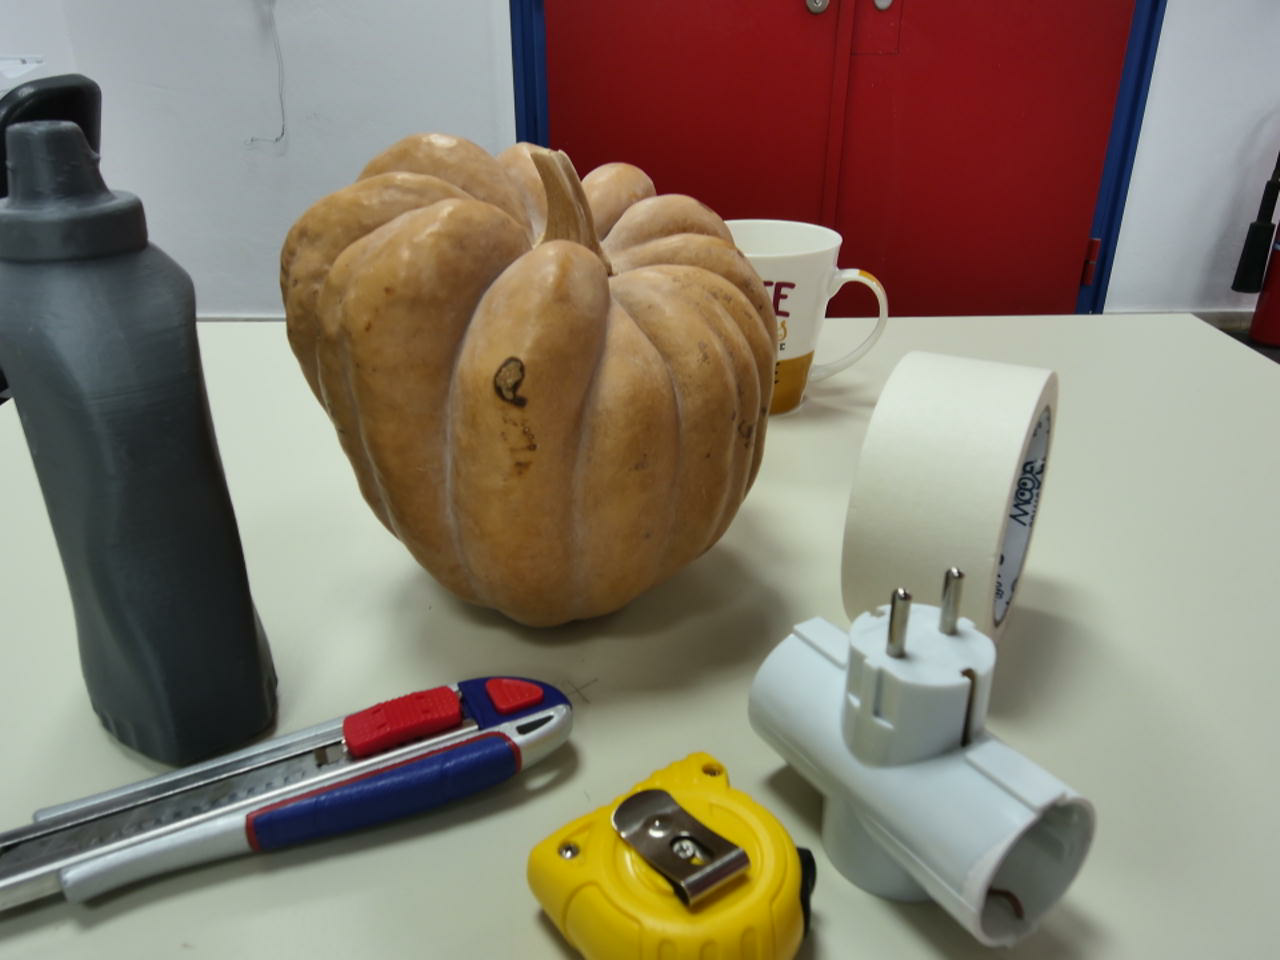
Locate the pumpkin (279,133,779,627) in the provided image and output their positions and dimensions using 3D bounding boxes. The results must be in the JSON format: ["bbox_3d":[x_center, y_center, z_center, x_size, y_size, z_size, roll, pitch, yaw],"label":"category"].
[{"bbox_3d":[-0.039,-0.042,0.397,0.199,0.177,0.198,0,25,0],"label":"pumpkin"}]
